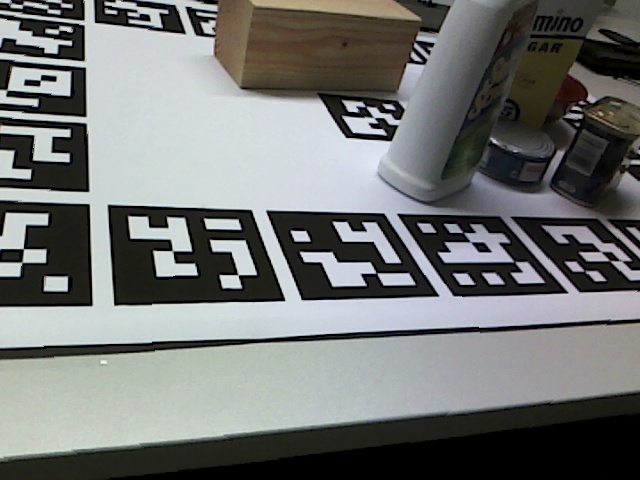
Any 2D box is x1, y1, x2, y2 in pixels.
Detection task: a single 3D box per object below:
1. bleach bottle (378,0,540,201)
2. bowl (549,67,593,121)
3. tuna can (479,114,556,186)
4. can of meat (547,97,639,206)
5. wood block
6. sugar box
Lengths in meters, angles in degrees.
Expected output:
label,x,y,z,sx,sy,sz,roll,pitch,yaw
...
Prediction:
label,x,y,z,sx,sy,sz,roll,pitch,yaw
bleach bottle,0.128,-0.159,0.512,0.102,0.250,0.068,-21,48,-40
bowl,0.246,-0.188,0.764,0.161,0.055,0.162,7,37,-6
tuna can,0.190,-0.092,0.626,0.085,0.034,0.086,10,39,-8
can of meat,0.281,-0.090,0.627,0.058,0.083,0.101,34,37,28
wood block,-0.005,-0.226,0.697,0.205,0.090,0.091,-6,45,-29
sugar box,0.210,-0.185,0.638,0.093,0.176,0.045,10,38,-2
